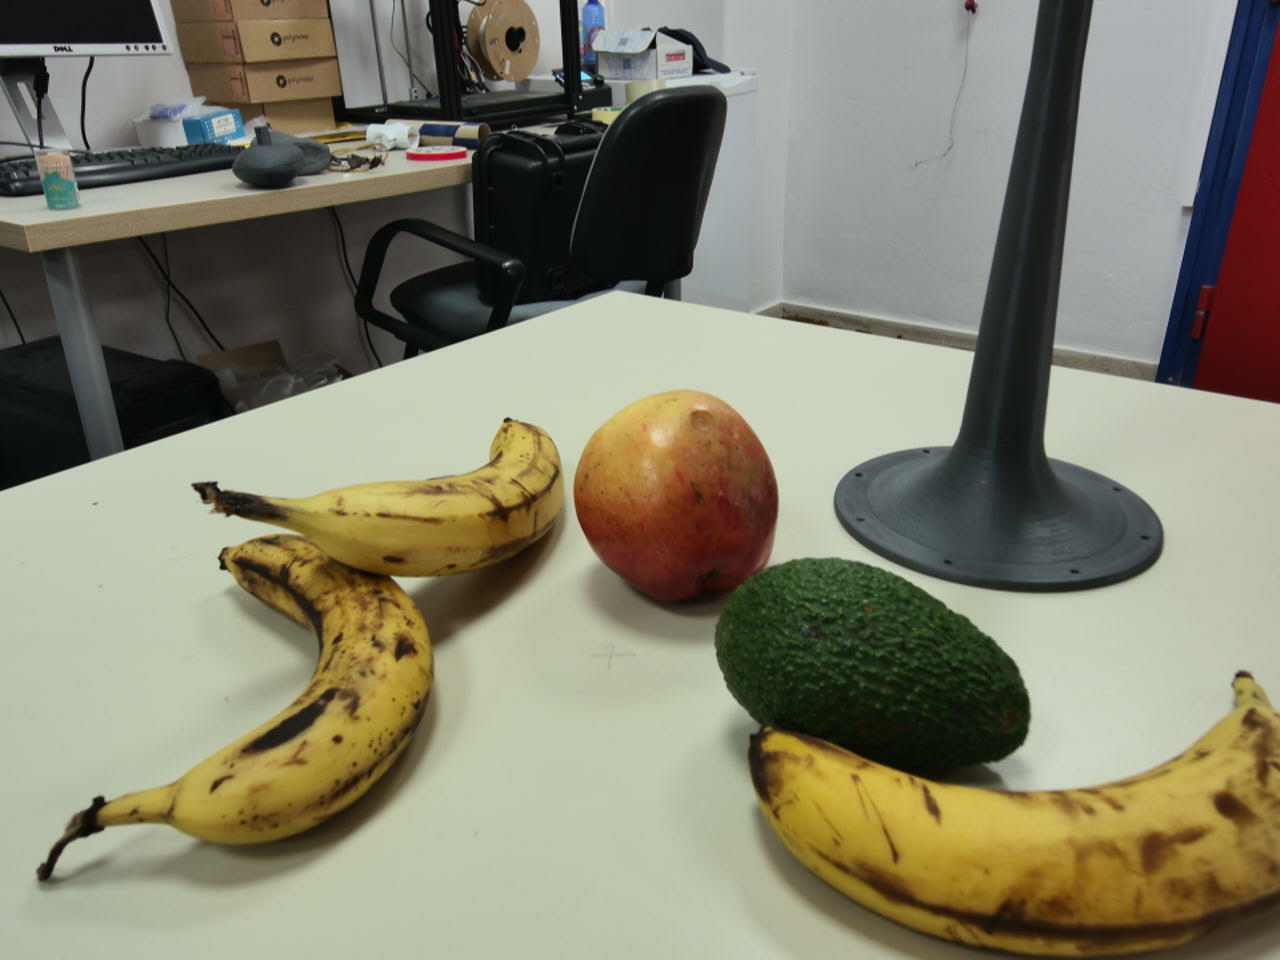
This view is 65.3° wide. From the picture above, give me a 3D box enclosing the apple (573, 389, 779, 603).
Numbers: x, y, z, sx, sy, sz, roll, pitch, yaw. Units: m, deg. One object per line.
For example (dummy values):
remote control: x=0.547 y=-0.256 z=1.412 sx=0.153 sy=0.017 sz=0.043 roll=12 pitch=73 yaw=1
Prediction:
apple: x=0.015 y=0.006 z=0.425 sx=0.086 sy=0.084 sz=0.093 roll=0 pitch=23 yaw=2
